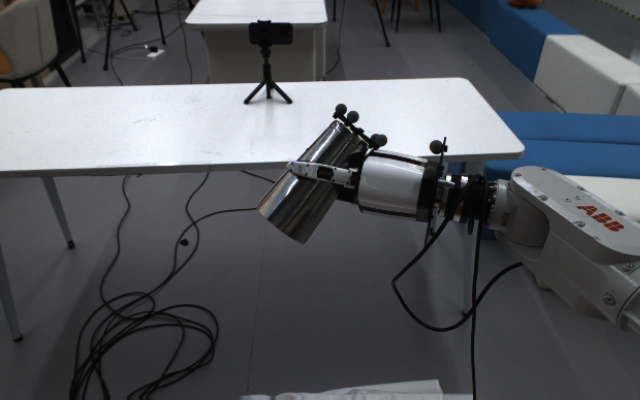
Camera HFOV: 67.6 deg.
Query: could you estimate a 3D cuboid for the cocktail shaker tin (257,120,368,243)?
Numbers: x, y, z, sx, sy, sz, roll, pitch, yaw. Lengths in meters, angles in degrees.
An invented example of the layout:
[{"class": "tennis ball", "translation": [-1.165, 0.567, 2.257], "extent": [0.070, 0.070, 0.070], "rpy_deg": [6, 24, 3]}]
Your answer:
[{"class": "cocktail shaker tin", "translation": [-0.005, -0.034, 0.712], "extent": [0.170, 0.093, 0.093], "rpy_deg": [-50, 46, 4]}]
